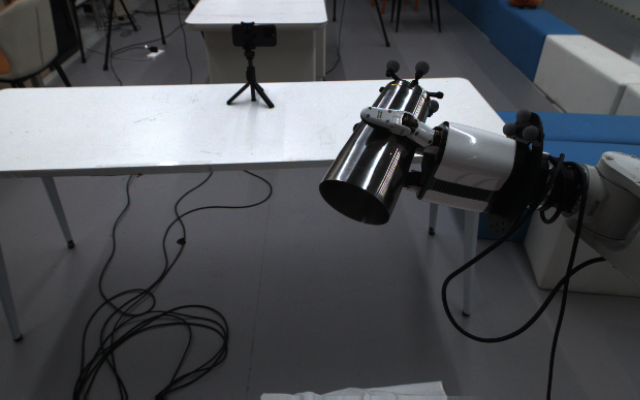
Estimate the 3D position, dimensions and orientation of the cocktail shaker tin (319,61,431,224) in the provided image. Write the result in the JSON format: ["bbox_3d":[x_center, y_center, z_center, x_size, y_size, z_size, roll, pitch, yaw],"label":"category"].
[{"bbox_3d":[0.080,-0.068,0.598,0.093,0.093,0.170,18,66,21],"label":"cocktail shaker tin"}]
